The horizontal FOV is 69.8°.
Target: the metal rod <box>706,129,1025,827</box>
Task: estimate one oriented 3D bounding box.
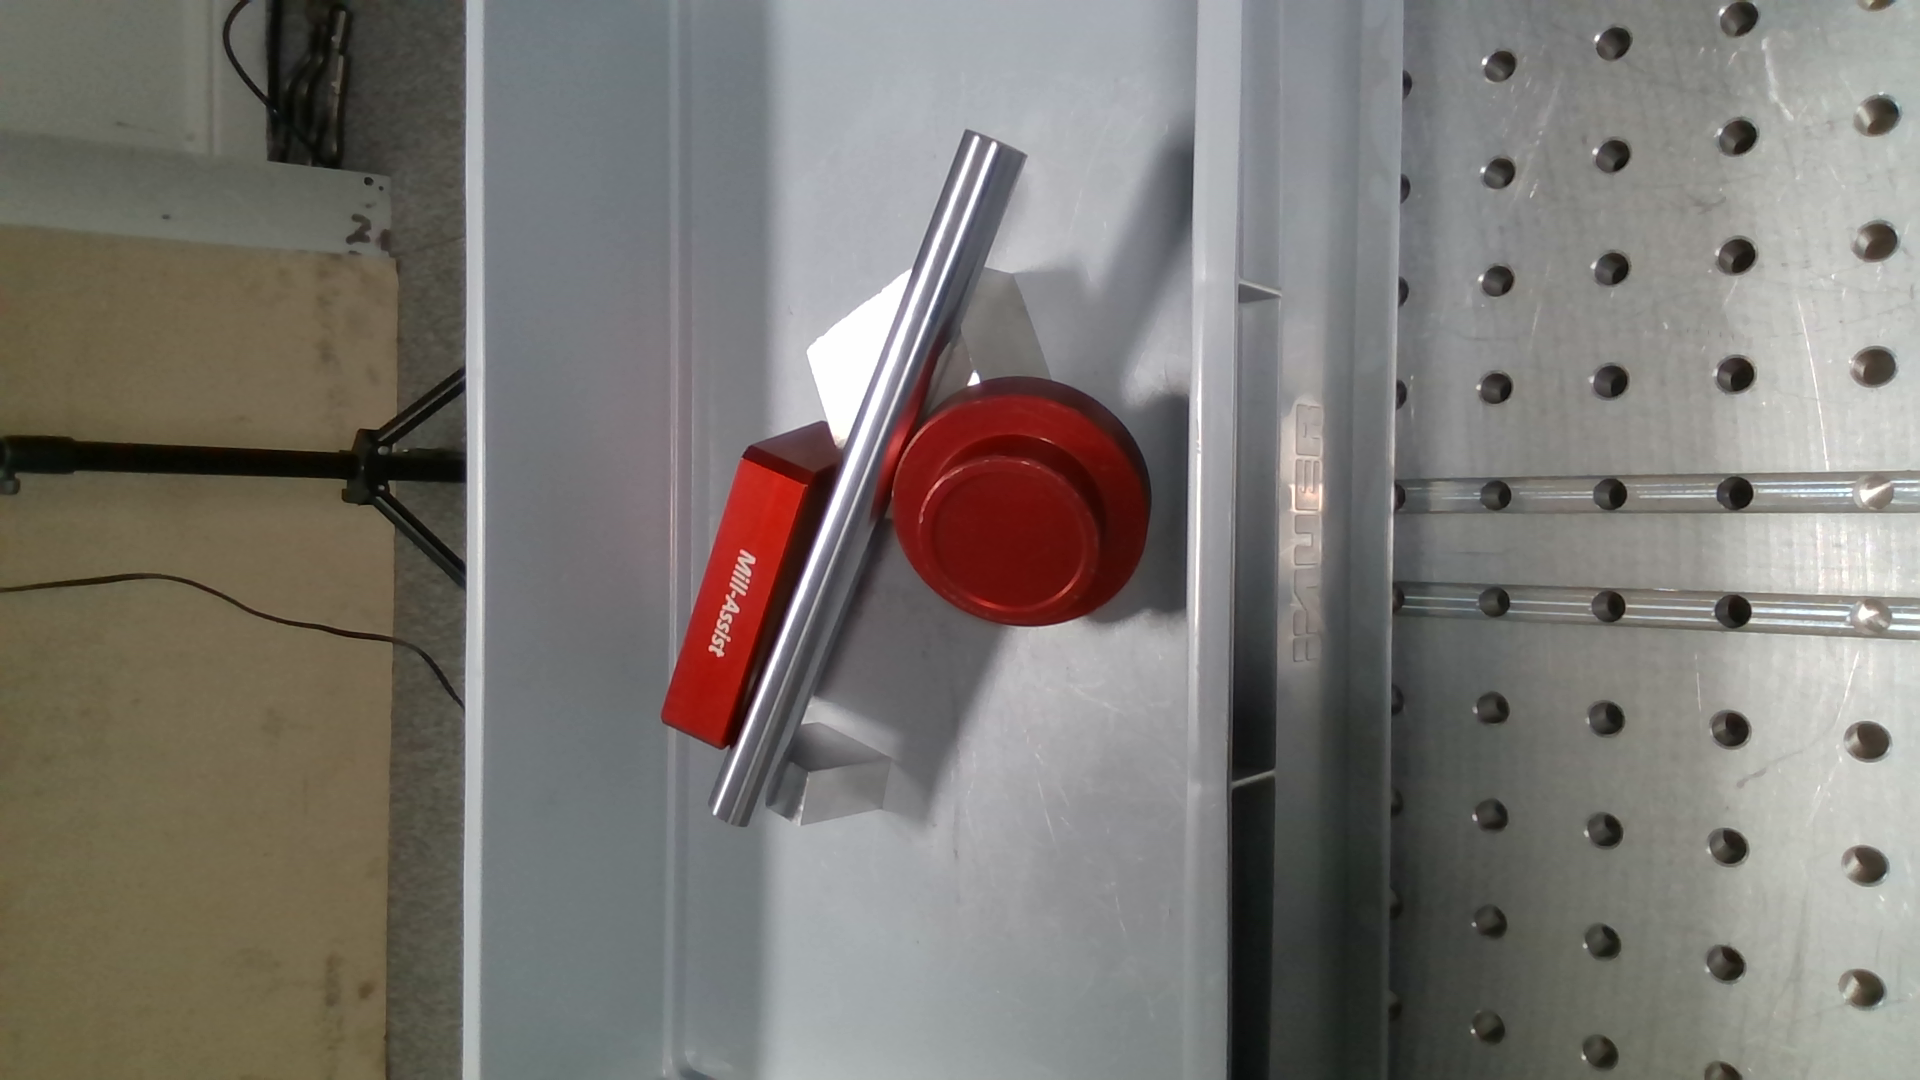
[{"bbox_3d":[-0.043,-0.014,0.550,0.025,0.025,0.301,36,113,34],"label":"metal rod"}]

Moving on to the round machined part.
[{"bbox_3d":[0.021,-0.008,0.518,0.098,0.042,0.098,5,119,10],"label":"round machined part"}]

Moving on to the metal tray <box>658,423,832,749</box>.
[{"bbox_3d":[-0.083,0.018,0.604,0.030,0.090,0.130,23,108,9],"label":"metal tray"}]

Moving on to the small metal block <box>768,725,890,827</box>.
[{"bbox_3d":[-0.069,0.105,0.623,0.050,0.050,0.025,18,102,39],"label":"small metal block"}]

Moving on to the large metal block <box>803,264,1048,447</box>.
[{"bbox_3d":[-0.011,-0.061,0.572,0.080,0.050,0.080,-29,72,37],"label":"large metal block"}]
